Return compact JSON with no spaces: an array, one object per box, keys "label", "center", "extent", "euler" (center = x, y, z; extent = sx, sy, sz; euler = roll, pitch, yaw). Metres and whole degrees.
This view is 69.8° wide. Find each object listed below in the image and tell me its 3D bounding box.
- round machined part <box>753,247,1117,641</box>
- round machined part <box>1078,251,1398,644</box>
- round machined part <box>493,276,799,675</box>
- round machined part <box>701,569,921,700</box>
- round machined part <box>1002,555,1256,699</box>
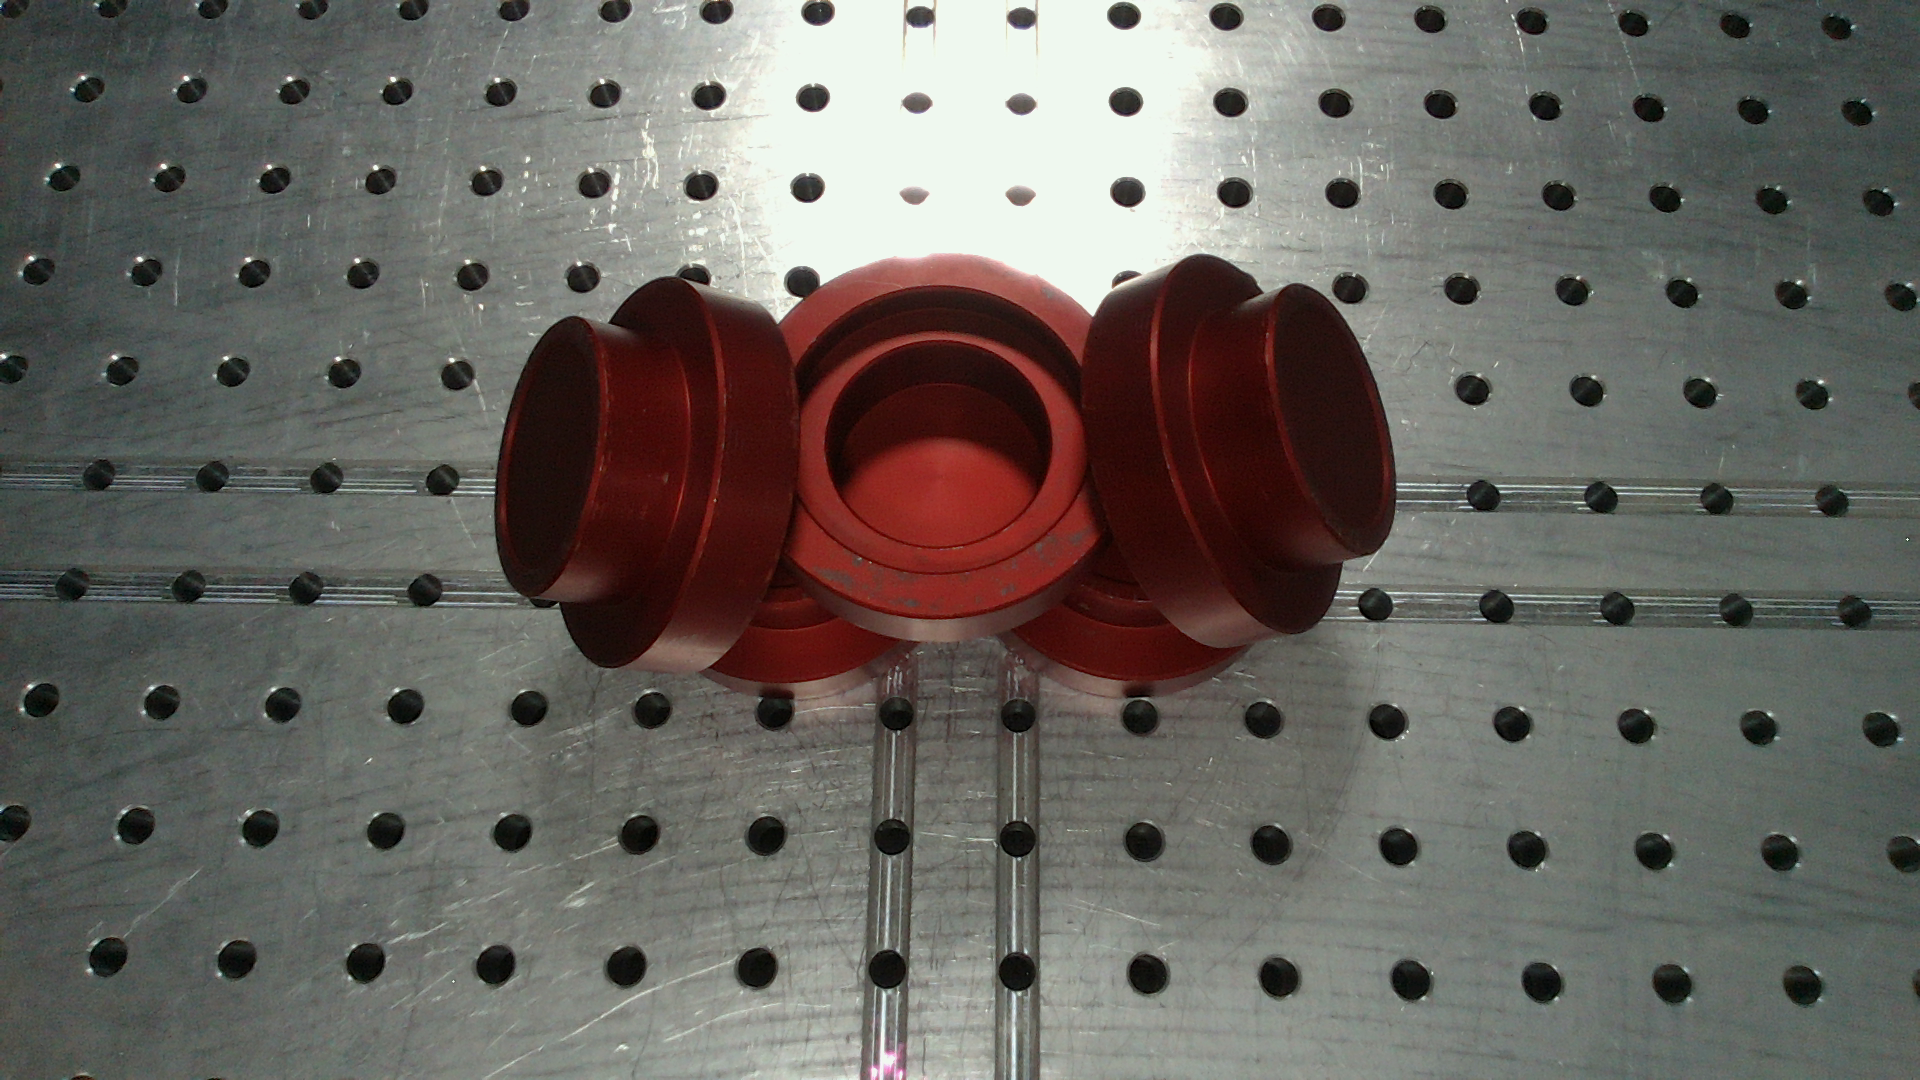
[{"label":"round machined part","center":[-0.005,-0.021,0.350],"extent":[0.098,0.042,0.098],"euler":[0,70,0]},{"label":"round machined part","center":[0.075,-0.025,0.343],"extent":[0.042,0.098,0.098],"euler":[-16,64,38]},{"label":"round machined part","center":[-0.083,-0.017,0.340],"extent":[0.042,0.098,0.098],"euler":[10,65,-36]},{"label":"round machined part","center":[-0.049,-0.007,0.390],"extent":[0.098,0.042,0.098],"euler":[0,70,0]},{"label":"round machined part","center":[0.049,-0.008,0.390],"extent":[0.098,0.042,0.098],"euler":[0,70,0]}]
